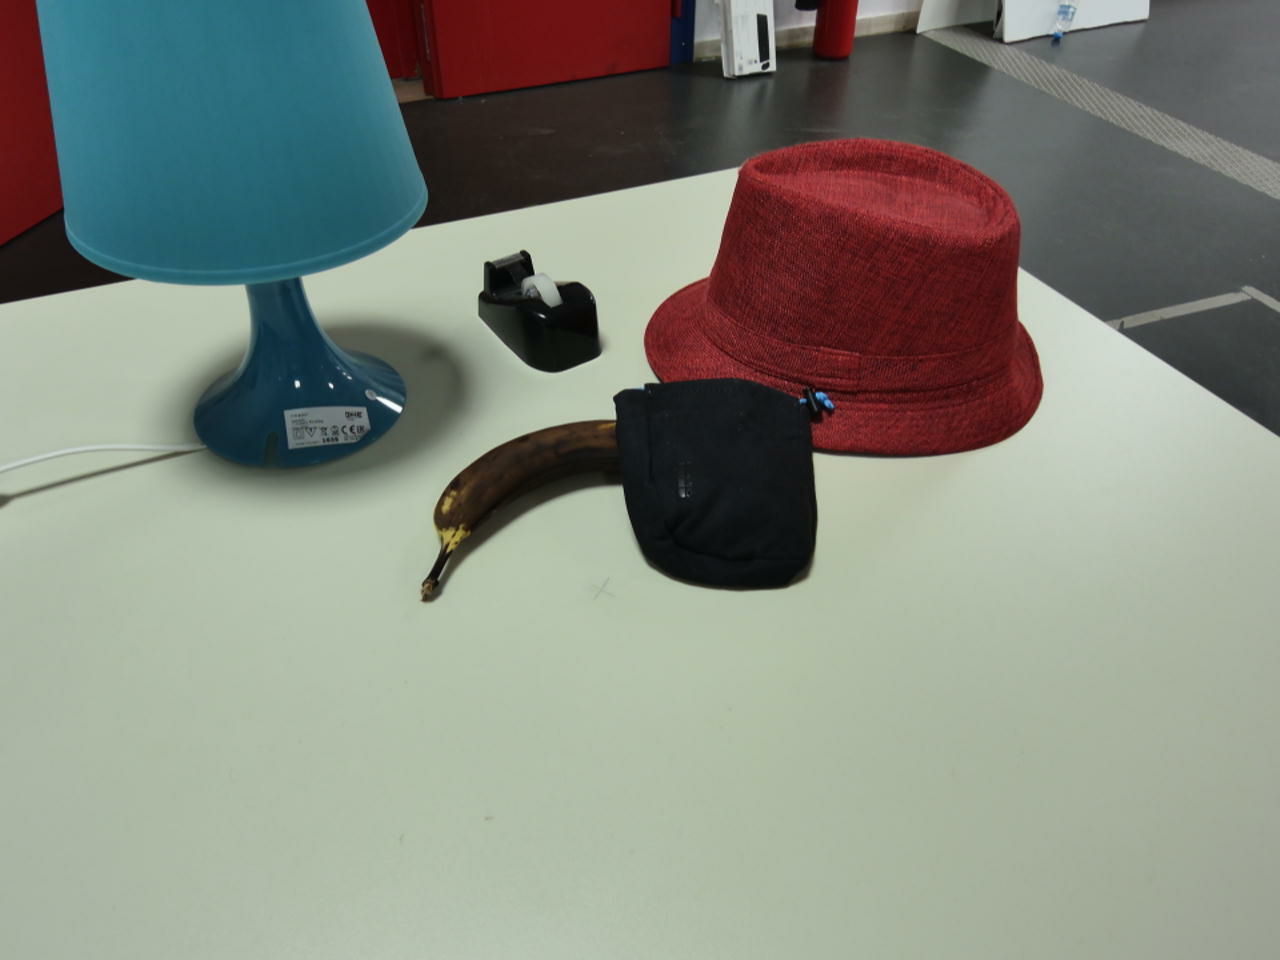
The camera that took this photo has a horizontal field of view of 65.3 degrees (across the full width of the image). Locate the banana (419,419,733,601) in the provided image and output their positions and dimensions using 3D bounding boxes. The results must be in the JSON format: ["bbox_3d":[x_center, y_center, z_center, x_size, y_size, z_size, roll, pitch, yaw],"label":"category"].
[{"bbox_3d":[-0.045,0.001,0.575,0.188,0.034,0.091,-15,41,-19],"label":"banana"}]
